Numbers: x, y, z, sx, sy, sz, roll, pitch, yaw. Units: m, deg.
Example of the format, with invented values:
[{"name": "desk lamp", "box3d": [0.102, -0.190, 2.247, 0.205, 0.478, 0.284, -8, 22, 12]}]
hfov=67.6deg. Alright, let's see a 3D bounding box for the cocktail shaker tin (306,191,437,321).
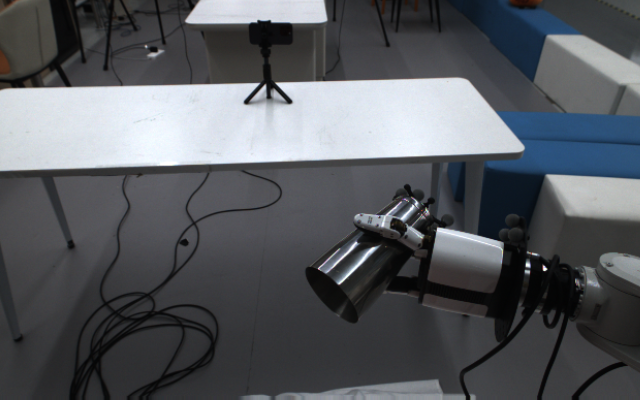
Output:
[{"name": "cocktail shaker tin", "box3d": [0.073, 0.064, 0.637, 0.170, 0.093, 0.093, -38, 49, -23]}]
